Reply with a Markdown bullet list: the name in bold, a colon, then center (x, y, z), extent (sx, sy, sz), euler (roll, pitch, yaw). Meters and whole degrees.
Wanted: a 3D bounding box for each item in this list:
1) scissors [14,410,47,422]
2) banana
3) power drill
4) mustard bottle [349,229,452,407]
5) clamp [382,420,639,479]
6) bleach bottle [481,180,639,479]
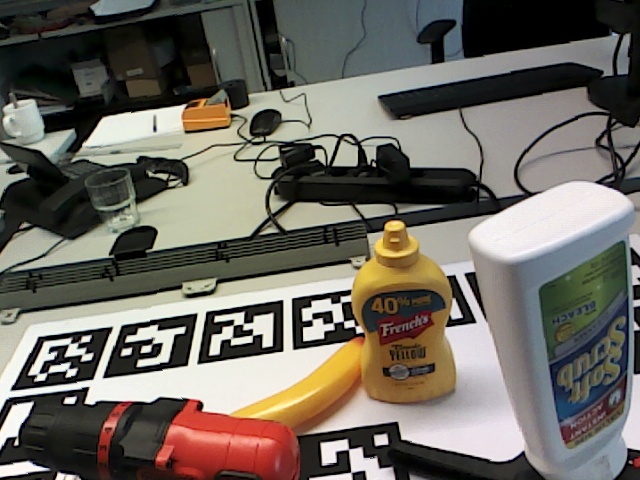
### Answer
- **scissors**: center (-0.165, 0.163, 0.487), extent (0.204, 0.016, 0.087), euler (9, 39, 20)
- **banana**: center (-0.021, 0.140, 0.650), extent (0.196, 0.039, 0.075), euler (-32, 20, -32)
- **power drill**: center (-0.094, 0.188, 0.399), extent (0.185, 0.186, 0.057), euler (-4, 23, 14)
- **mustard bottle**: center (0.078, 0.075, 0.602), extent (0.096, 0.191, 0.058), euler (-1, 31, 13)
- **clamp**: center (0.168, 0.191, 0.493), extent (0.202, 0.036, 0.166), euler (-11, 32, -5)
- **bleach bottle**: center (0.187, 0.089, 0.454), extent (0.102, 0.250, 0.068), euler (-24, 28, -11)
